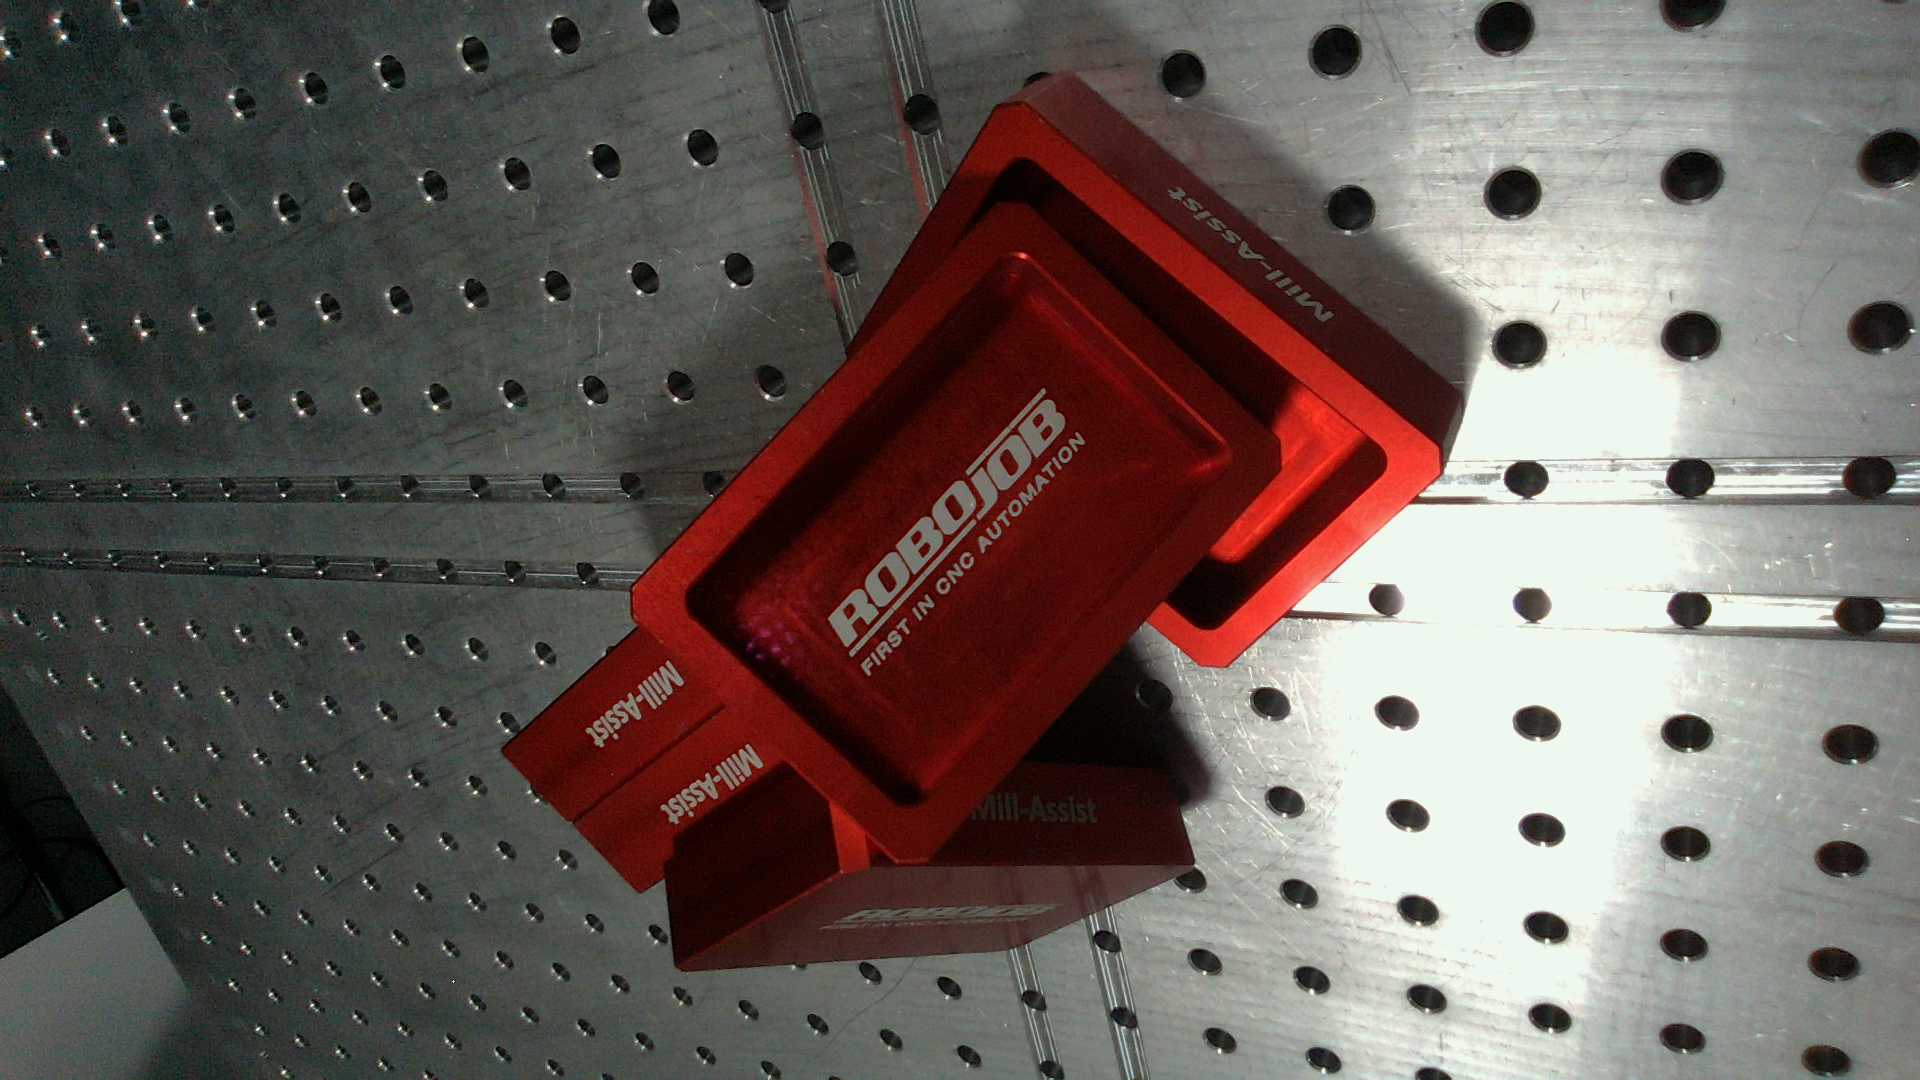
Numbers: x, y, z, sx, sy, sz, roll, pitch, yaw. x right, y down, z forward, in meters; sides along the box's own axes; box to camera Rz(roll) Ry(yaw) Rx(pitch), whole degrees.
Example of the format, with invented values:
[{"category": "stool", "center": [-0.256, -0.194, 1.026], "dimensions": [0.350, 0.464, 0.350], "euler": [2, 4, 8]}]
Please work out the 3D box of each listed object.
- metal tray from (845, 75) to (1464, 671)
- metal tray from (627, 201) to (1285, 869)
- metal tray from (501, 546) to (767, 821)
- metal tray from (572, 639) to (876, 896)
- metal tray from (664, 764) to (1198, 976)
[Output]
[{"category": "metal tray", "center": [0.045, -0.038, 0.343], "dimensions": [0.130, 0.030, 0.090], "euler": [39, 129, 1]}, {"category": "metal tray", "center": [0.000, -0.002, 0.322], "dimensions": [0.090, 0.030, 0.130], "euler": [43, 85, -2]}, {"category": "metal tray", "center": [-0.071, 0.023, 0.406], "dimensions": [0.030, 0.090, 0.130], "euler": [48, 129, -5]}, {"category": "metal tray", "center": [-0.050, 0.046, 0.407], "dimensions": [0.030, 0.090, 0.130], "euler": [48, 129, -5]}, {"category": "metal tray", "center": [-0.006, 0.095, 0.398], "dimensions": [0.090, 0.131, 0.030], "euler": [-37, 56, 39]}]
